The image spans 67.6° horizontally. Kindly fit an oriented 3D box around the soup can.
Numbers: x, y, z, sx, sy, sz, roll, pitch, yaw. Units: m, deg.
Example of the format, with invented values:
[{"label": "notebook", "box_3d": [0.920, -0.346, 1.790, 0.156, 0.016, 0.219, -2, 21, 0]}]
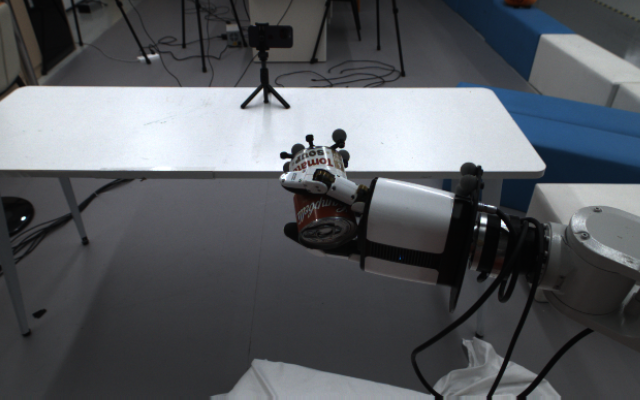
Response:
[{"label": "soup can", "box_3d": [0.004, -0.004, 0.560, 0.067, 0.067, 0.101, -5, 57, -10]}]
